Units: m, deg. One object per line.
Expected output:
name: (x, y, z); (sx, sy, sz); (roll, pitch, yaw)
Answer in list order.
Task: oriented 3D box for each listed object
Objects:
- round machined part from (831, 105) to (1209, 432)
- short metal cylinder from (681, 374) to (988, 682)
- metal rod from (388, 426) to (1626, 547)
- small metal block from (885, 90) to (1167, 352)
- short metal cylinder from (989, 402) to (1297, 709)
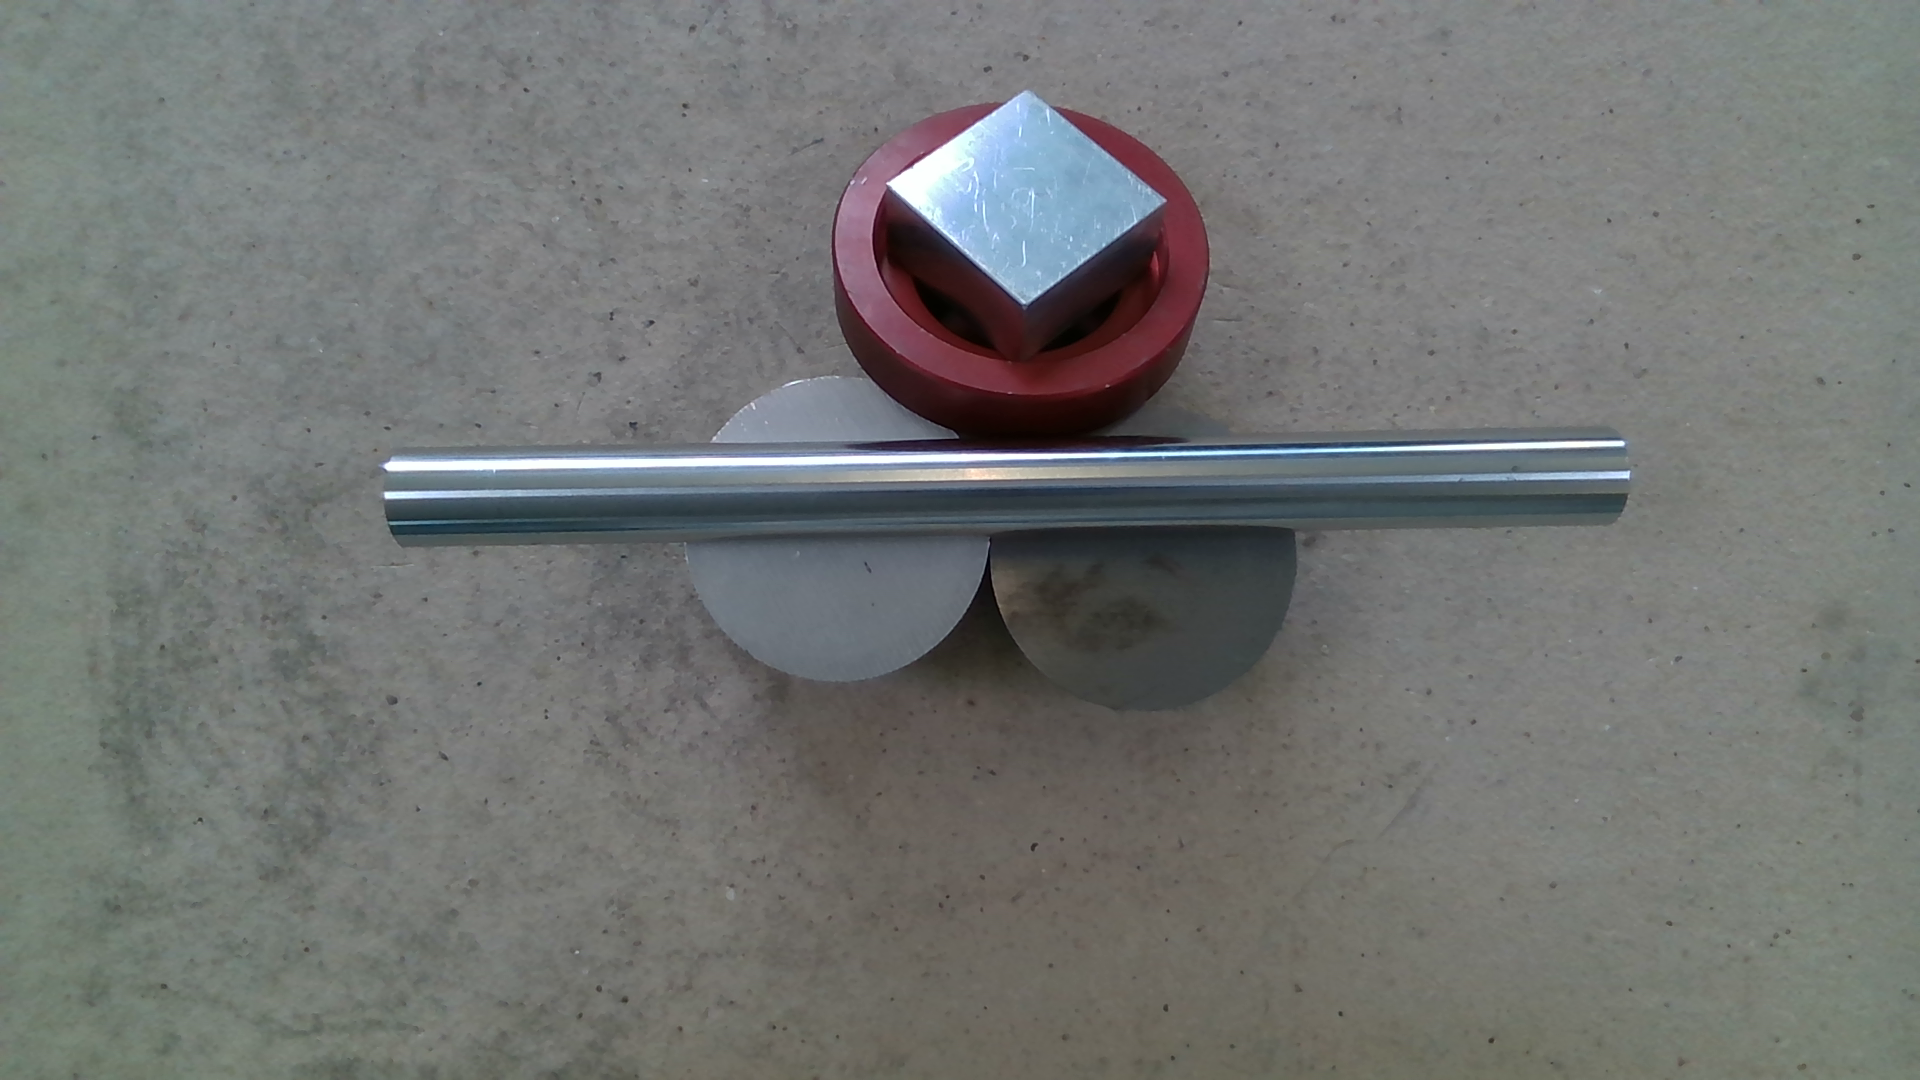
round machined part: (0.015, -0.068, 0.374); (0.098, 0.042, 0.098); (1, 61, -2)
short metal cylinder: (-0.033, -0.003, 0.383); (0.080, 0.050, 0.080); (0, 90, -1)
metal rod: (0.012, -0.013, 0.346); (0.300, 0.025, 0.025); (-1, 90, 0)
small metal block: (0.016, -0.081, 0.355); (0.050, 0.025, 0.050); (-38, 70, -21)
short metal cylinder: (0.048, 0.004, 0.383); (0.080, 0.050, 0.080); (0, 90, 0)
